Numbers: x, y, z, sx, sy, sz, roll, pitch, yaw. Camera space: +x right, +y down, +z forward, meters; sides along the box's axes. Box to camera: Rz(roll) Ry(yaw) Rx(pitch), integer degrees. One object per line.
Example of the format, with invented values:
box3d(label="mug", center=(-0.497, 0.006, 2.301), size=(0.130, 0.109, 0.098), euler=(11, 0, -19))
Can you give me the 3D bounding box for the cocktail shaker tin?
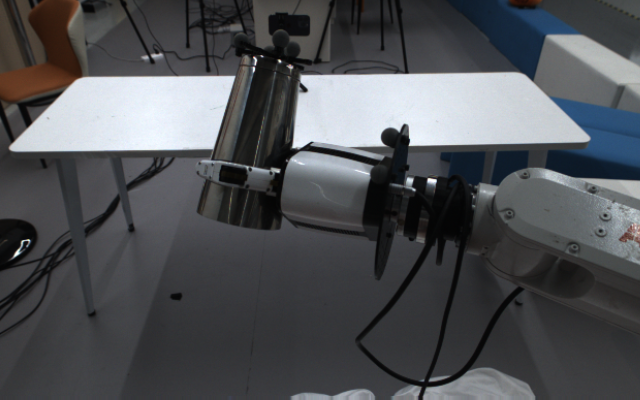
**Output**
box3d(label="cocktail shaker tin", center=(-0.069, -0.060, 0.521), size=(0.093, 0.170, 0.093), euler=(13, 4, -1))
